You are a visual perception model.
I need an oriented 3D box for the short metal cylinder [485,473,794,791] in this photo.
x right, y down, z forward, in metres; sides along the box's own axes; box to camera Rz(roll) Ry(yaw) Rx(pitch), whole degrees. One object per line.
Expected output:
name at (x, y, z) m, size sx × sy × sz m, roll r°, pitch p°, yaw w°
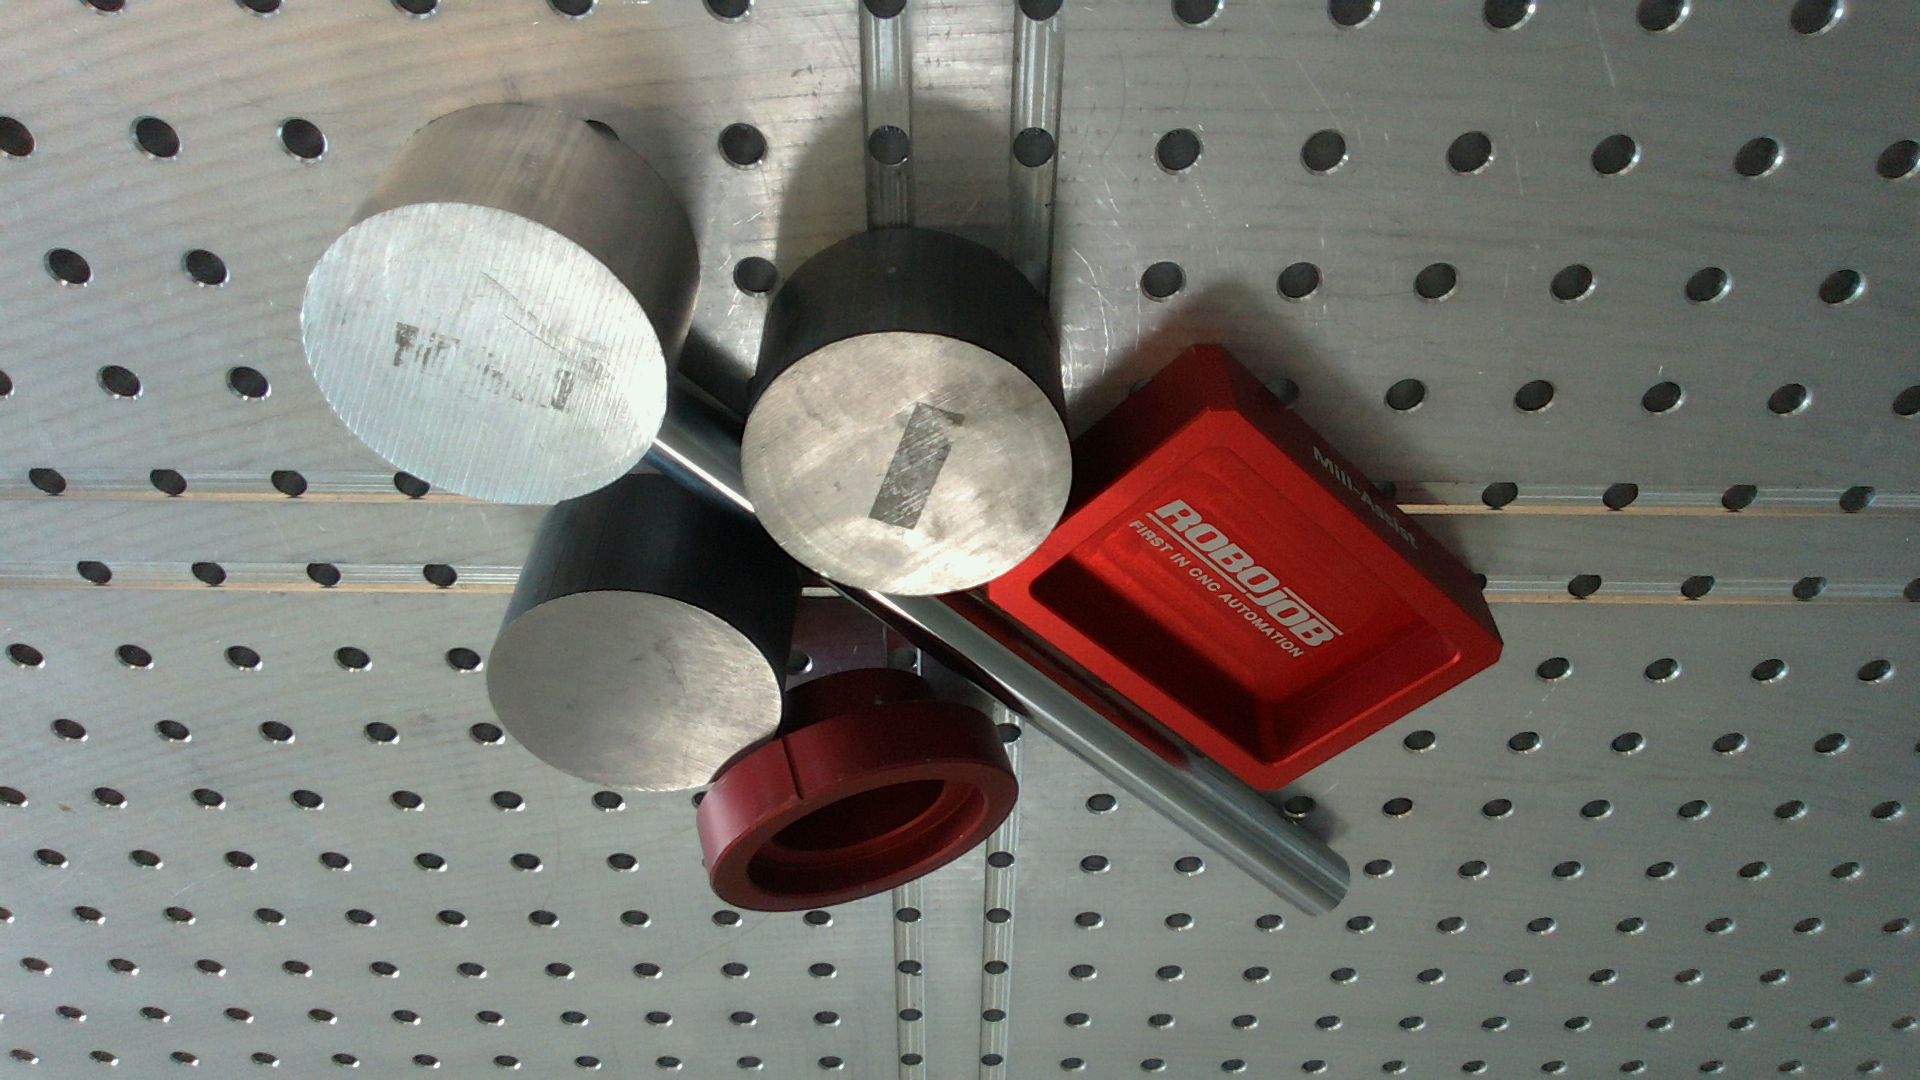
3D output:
short metal cylinder at (-0.090, 0.028, 0.400) m, size 0.080 × 0.050 × 0.080 m, roll 0°, pitch 130°, yaw 0°

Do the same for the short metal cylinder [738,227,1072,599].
short metal cylinder at (-0.013, -0.031, 0.350) m, size 0.080 × 0.050 × 0.080 m, roll 0°, pitch 130°, yaw 0°

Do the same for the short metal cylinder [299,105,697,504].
short metal cylinder at (-0.107, -0.056, 0.330) m, size 0.080 × 0.050 × 0.080 m, roll 0°, pitch 130°, yaw 0°

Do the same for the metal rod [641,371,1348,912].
metal rod at (0.023, 0.043, 0.430) m, size 0.301 × 0.025 × 0.025 m, roll 37°, pitch 121°, yaw -27°

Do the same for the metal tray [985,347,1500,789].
metal tray at (0.081, 0.014, 0.402) m, size 0.130 × 0.030 × 0.090 m, roll 36°, pitch 122°, yaw -27°

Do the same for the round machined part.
round machined part at (-0.035, 0.075, 0.432) m, size 0.098 × 0.042 × 0.098 m, roll -15°, pitch 147°, yaw -10°
